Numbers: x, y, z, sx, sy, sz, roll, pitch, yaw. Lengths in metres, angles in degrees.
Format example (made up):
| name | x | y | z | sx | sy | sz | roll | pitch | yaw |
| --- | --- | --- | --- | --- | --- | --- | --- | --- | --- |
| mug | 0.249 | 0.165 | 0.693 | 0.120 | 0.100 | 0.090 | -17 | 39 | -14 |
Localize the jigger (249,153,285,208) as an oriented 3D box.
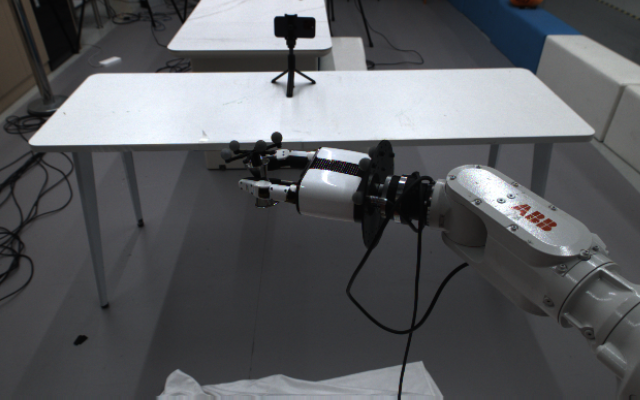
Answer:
| name | x | y | z | sx | sy | sz | roll | pitch | yaw |
| --- | --- | --- | --- | --- | --- | --- | --- | --- | --- |
| jigger | -0.089 | -0.027 | 0.753 | 0.043 | 0.071 | 0.043 | -11 | 25 | 5 |
